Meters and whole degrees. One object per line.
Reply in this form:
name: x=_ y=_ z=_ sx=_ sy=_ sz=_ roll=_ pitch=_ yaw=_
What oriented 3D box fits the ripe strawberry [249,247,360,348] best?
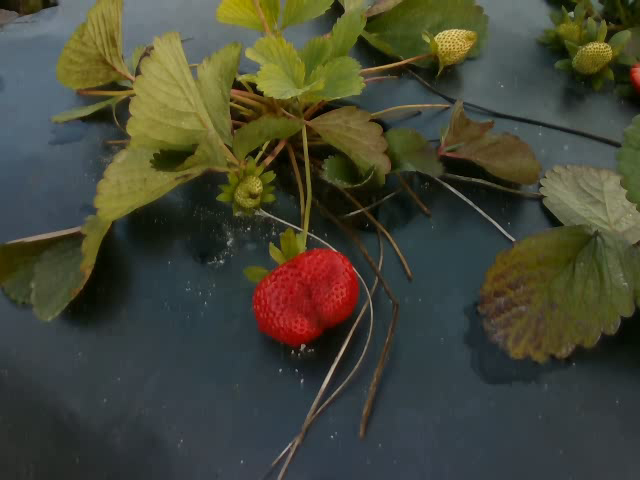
ripe strawberry: x=-0.002 y=0.008 z=0.074 sx=0.017 sy=0.014 sz=0.015 roll=-40 pitch=22 yaw=8
